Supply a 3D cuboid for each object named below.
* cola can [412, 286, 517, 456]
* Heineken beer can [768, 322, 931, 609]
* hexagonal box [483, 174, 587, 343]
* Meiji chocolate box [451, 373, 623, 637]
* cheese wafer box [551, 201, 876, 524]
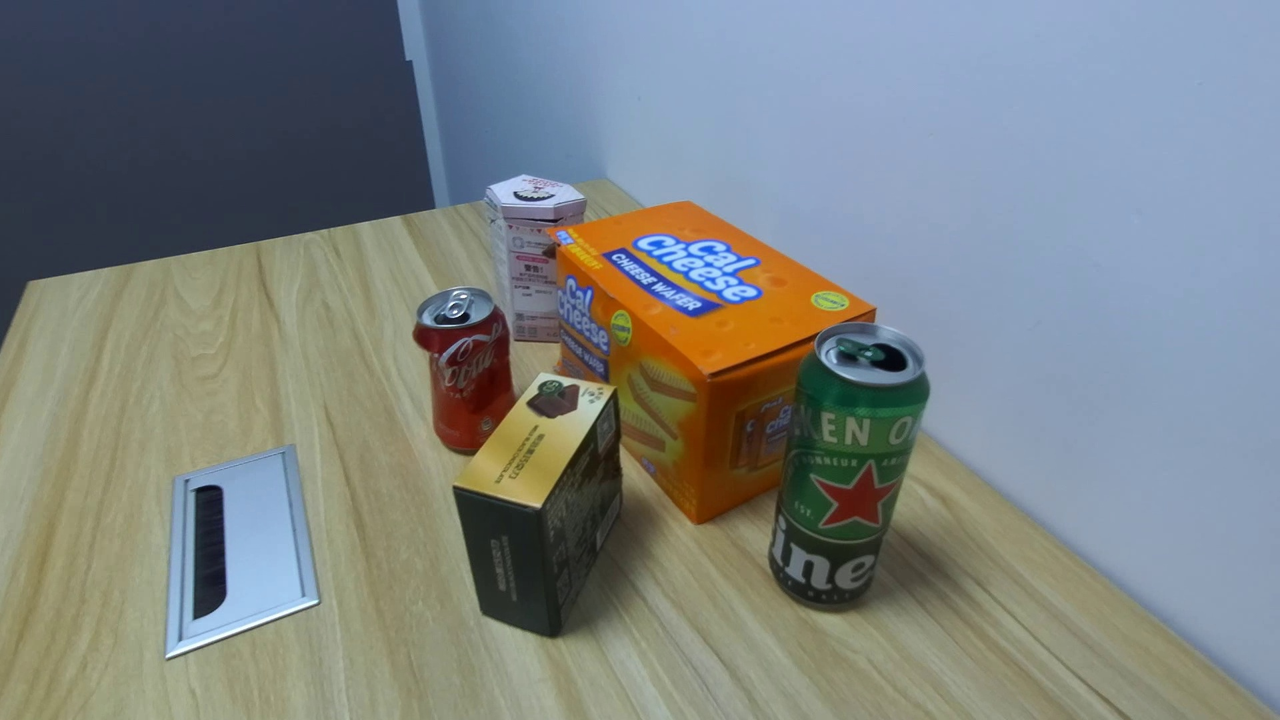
[{"bbox_3d":[-0.129,0.007,0.529,0.066,0.117,0.066,-26,42,-33],"label":"cola can"},{"bbox_3d":[0.114,0.064,0.400,0.067,0.169,0.067,0,35,0],"label":"Heineken beer can"},{"bbox_3d":[-0.089,-0.093,0.650,0.092,0.135,0.085,5,35,10],"label":"hexagonal box"},{"bbox_3d":[-0.054,0.084,0.426,0.056,0.109,0.110,11,37,17],"label":"Meiji chocolate box"},{"bbox_3d":[0.041,-0.016,0.543,0.150,0.137,0.226,-20,40,-25],"label":"cheese wafer box"}]
